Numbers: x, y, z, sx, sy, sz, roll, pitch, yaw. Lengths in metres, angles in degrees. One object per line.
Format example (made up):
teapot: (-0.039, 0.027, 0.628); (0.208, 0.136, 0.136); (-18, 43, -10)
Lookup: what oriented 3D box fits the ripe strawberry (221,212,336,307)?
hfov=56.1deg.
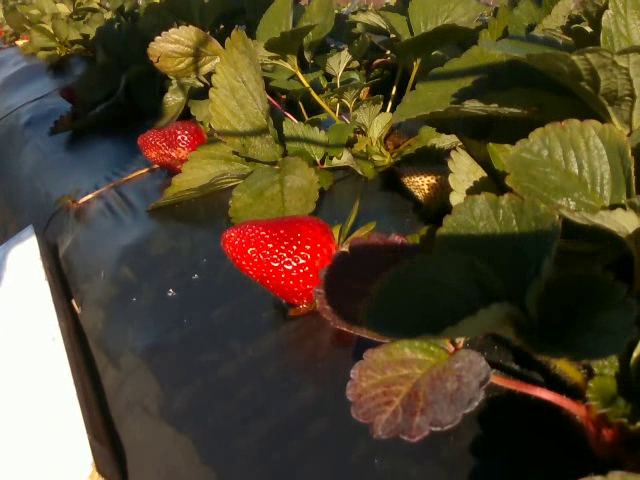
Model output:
ripe strawberry: (-0.019, 0.006, 0.239); (0.050, 0.043, 0.043); (17, 41, -12)

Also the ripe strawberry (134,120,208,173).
ripe strawberry: (-0.100, -0.065, 0.416); (0.053, 0.043, 0.042); (4, 28, -24)
